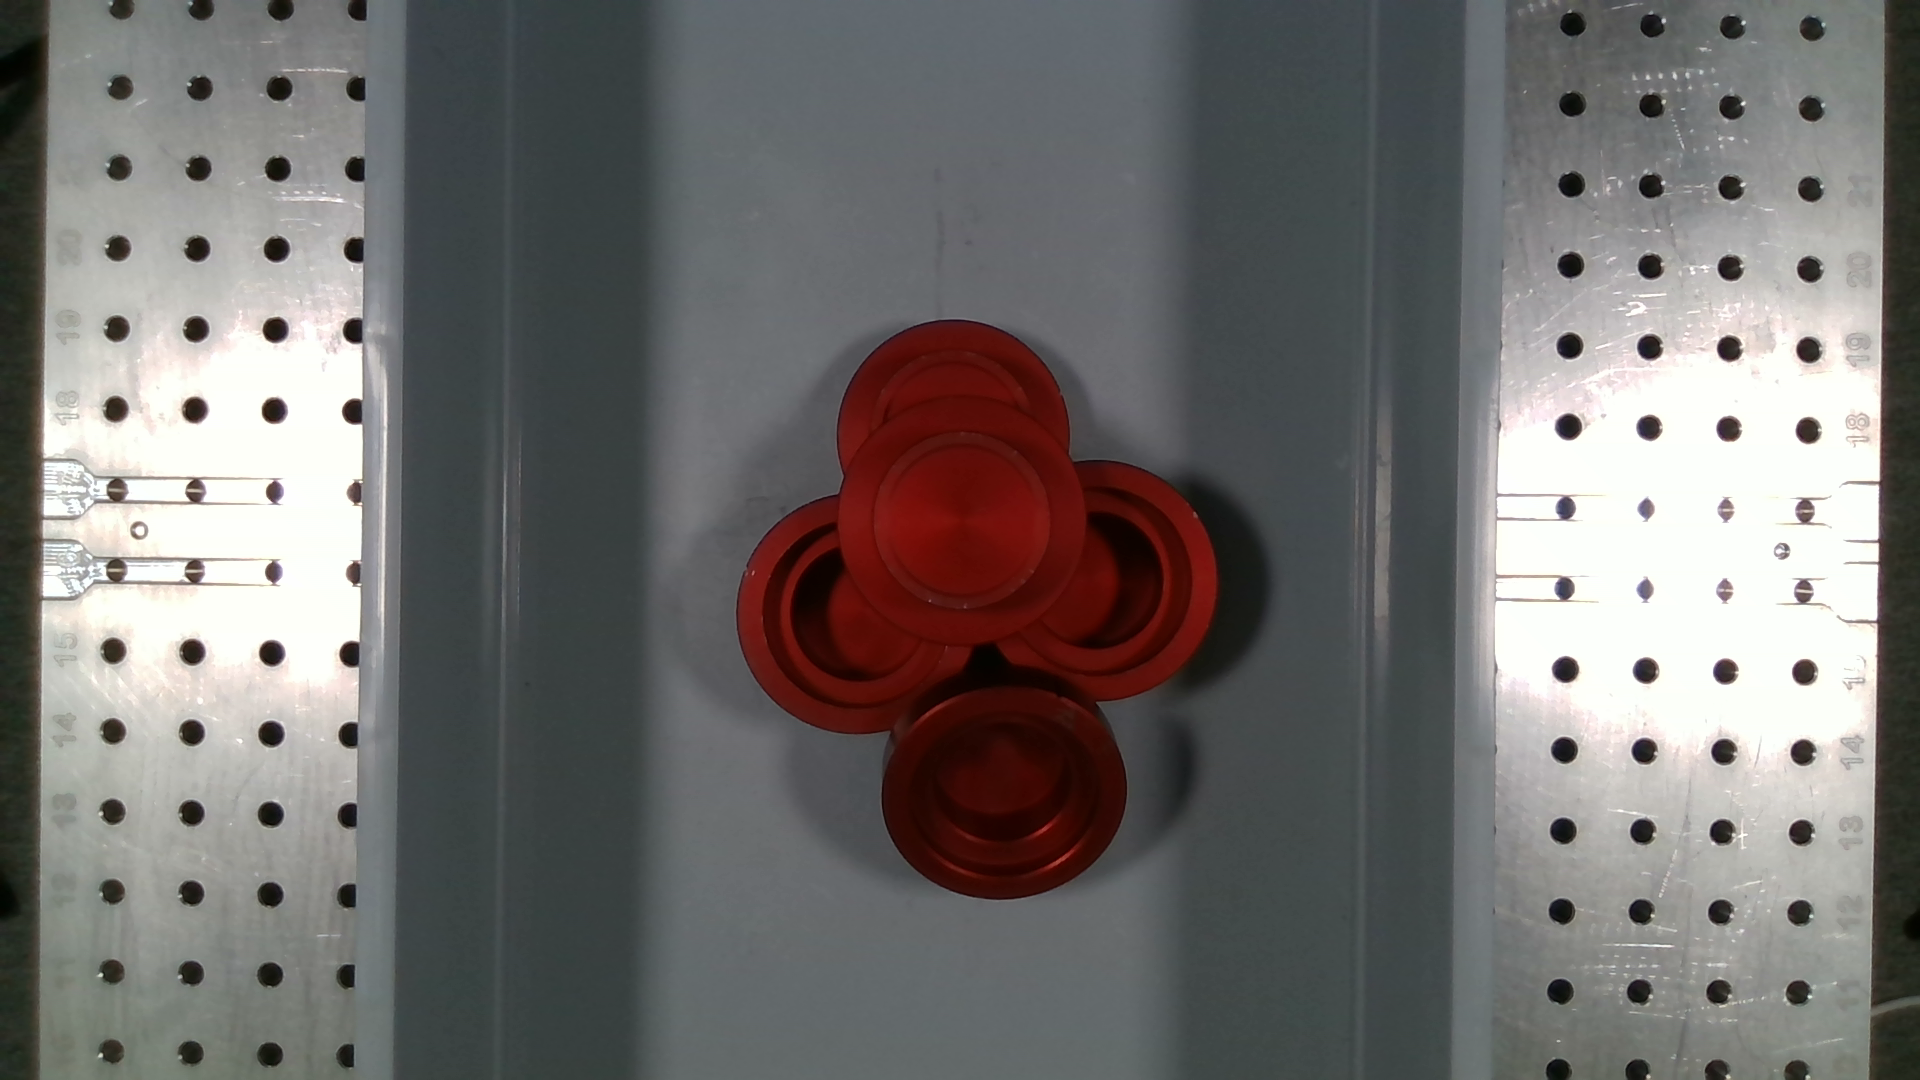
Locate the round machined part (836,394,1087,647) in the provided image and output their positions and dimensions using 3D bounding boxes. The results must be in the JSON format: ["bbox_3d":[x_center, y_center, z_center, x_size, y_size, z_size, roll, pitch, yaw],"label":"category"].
[{"bbox_3d":[0.001,-0.008,0.534,0.098,0.042,0.098,0,90,0],"label":"round machined part"}]

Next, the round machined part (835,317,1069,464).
[{"bbox_3d":[-0.003,-0.045,0.575,0.098,0.042,0.098,0,90,0],"label":"round machined part"}]

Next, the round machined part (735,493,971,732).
[{"bbox_3d":[-0.042,0.029,0.577,0.098,0.042,0.098,0,90,0],"label":"round machined part"}]

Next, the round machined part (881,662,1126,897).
[{"bbox_3d":[0.017,0.094,0.567,0.098,0.042,0.098,-1,111,-3],"label":"round machined part"}]

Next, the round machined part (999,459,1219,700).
[{"bbox_3d":[0.056,0.016,0.578,0.098,0.042,0.098,0,90,0],"label":"round machined part"}]
